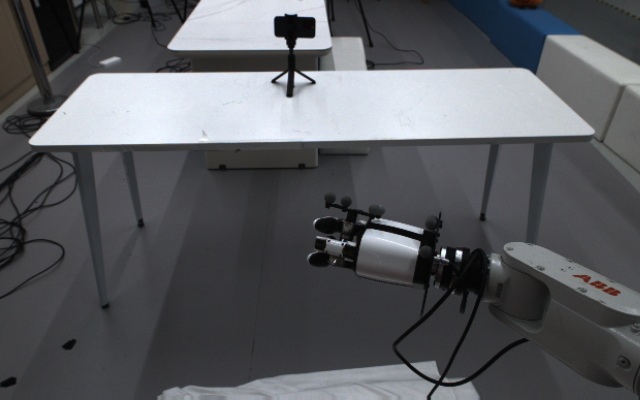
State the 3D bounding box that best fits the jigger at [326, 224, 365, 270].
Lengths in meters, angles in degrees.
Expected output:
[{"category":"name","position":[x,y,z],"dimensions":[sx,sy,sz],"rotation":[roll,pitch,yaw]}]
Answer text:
[{"category":"jigger","position":[0.042,0.066,0.738],"dimensions":[0.043,0.071,0.043],"rotation":[14,1,0]}]
